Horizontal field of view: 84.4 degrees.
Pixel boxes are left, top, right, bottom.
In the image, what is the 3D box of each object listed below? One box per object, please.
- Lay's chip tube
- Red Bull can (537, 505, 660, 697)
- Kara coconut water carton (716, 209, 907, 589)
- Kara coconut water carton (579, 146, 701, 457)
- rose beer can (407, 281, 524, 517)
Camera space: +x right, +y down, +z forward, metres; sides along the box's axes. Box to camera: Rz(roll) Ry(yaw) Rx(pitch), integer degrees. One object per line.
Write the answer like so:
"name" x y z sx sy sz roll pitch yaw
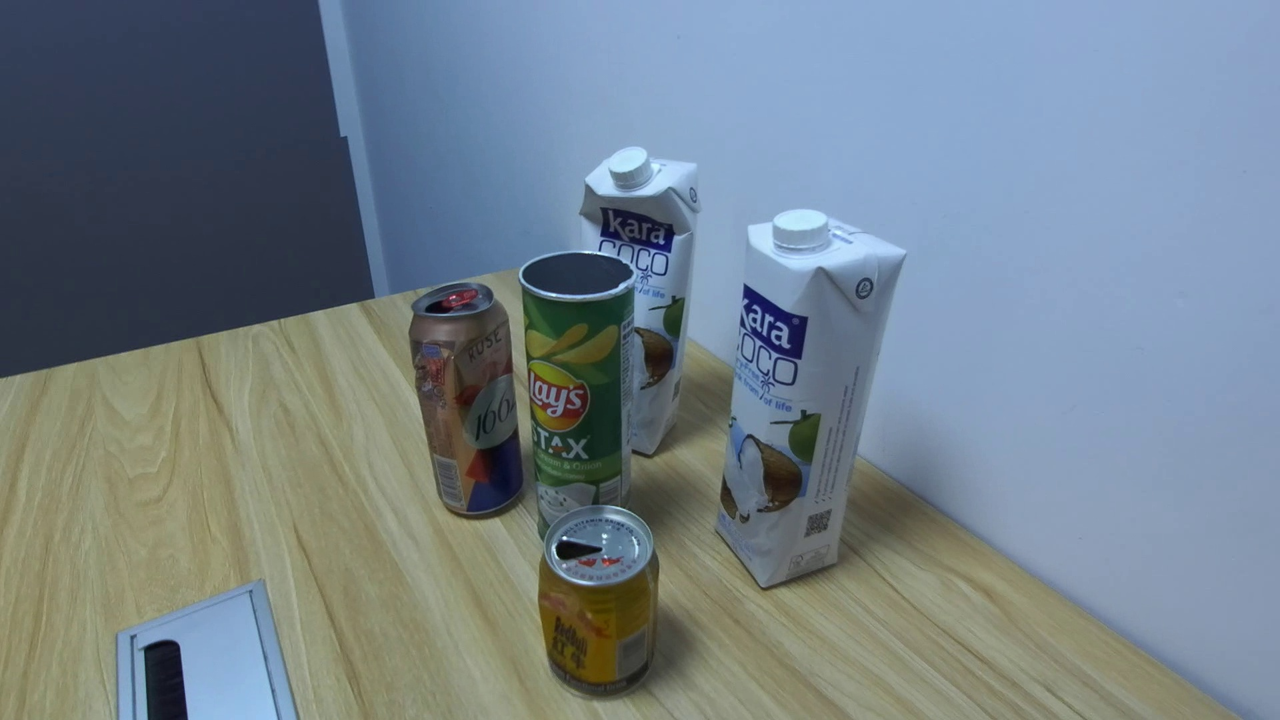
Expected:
"Lay's chip tube" -0.037 0.033 0.469 0.071 0.203 0.071 0 32 0
"Red Bull can" -0.023 0.136 0.402 0.069 0.092 0.069 0 32 0
"Kara coconut water carton" 0.099 0.026 0.445 0.075 0.245 0.076 -11 32 -23
"Kara coconut water carton" -0.002 -0.045 0.564 0.099 0.244 0.071 10 28 19
"rose beer can" -0.125 0.031 0.517 0.065 0.167 0.076 18 36 33
